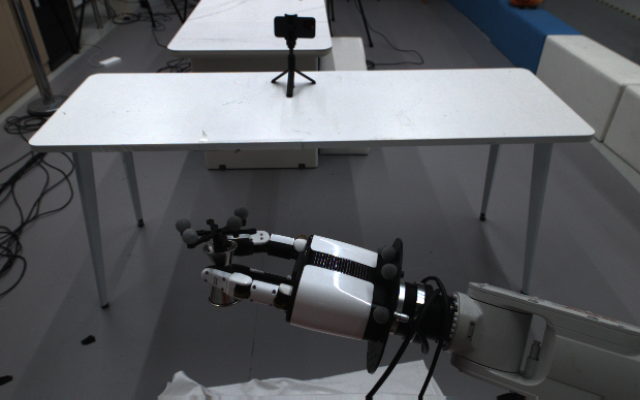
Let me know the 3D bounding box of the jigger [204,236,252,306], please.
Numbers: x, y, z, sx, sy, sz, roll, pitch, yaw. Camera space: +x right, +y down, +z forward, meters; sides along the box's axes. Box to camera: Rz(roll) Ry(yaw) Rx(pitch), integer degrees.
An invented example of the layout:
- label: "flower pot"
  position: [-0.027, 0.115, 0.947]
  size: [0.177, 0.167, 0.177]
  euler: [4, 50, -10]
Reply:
- label: "jigger"
  position: [-0.113, 0.086, 0.573]
  size: [0.043, 0.071, 0.043]
  euler: [-2, 19, 1]
